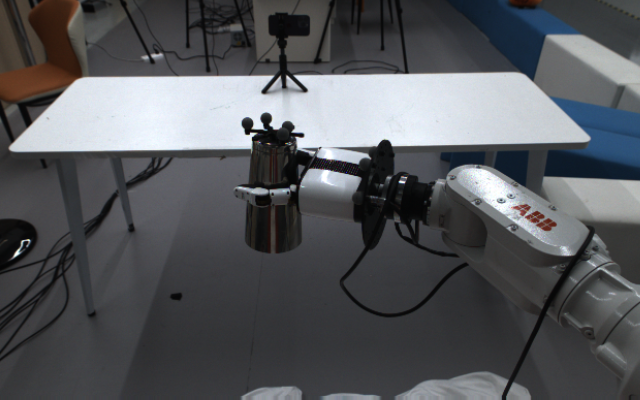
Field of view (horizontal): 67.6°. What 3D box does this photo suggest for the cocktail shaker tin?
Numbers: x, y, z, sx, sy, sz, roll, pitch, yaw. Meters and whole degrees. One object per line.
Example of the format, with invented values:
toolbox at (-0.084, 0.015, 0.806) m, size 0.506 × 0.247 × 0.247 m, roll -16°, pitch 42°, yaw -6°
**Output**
cocktail shaker tin at (-0.071, -0.015, 0.745) m, size 0.093 × 0.170 × 0.093 m, roll 2°, pitch 26°, yaw -1°
